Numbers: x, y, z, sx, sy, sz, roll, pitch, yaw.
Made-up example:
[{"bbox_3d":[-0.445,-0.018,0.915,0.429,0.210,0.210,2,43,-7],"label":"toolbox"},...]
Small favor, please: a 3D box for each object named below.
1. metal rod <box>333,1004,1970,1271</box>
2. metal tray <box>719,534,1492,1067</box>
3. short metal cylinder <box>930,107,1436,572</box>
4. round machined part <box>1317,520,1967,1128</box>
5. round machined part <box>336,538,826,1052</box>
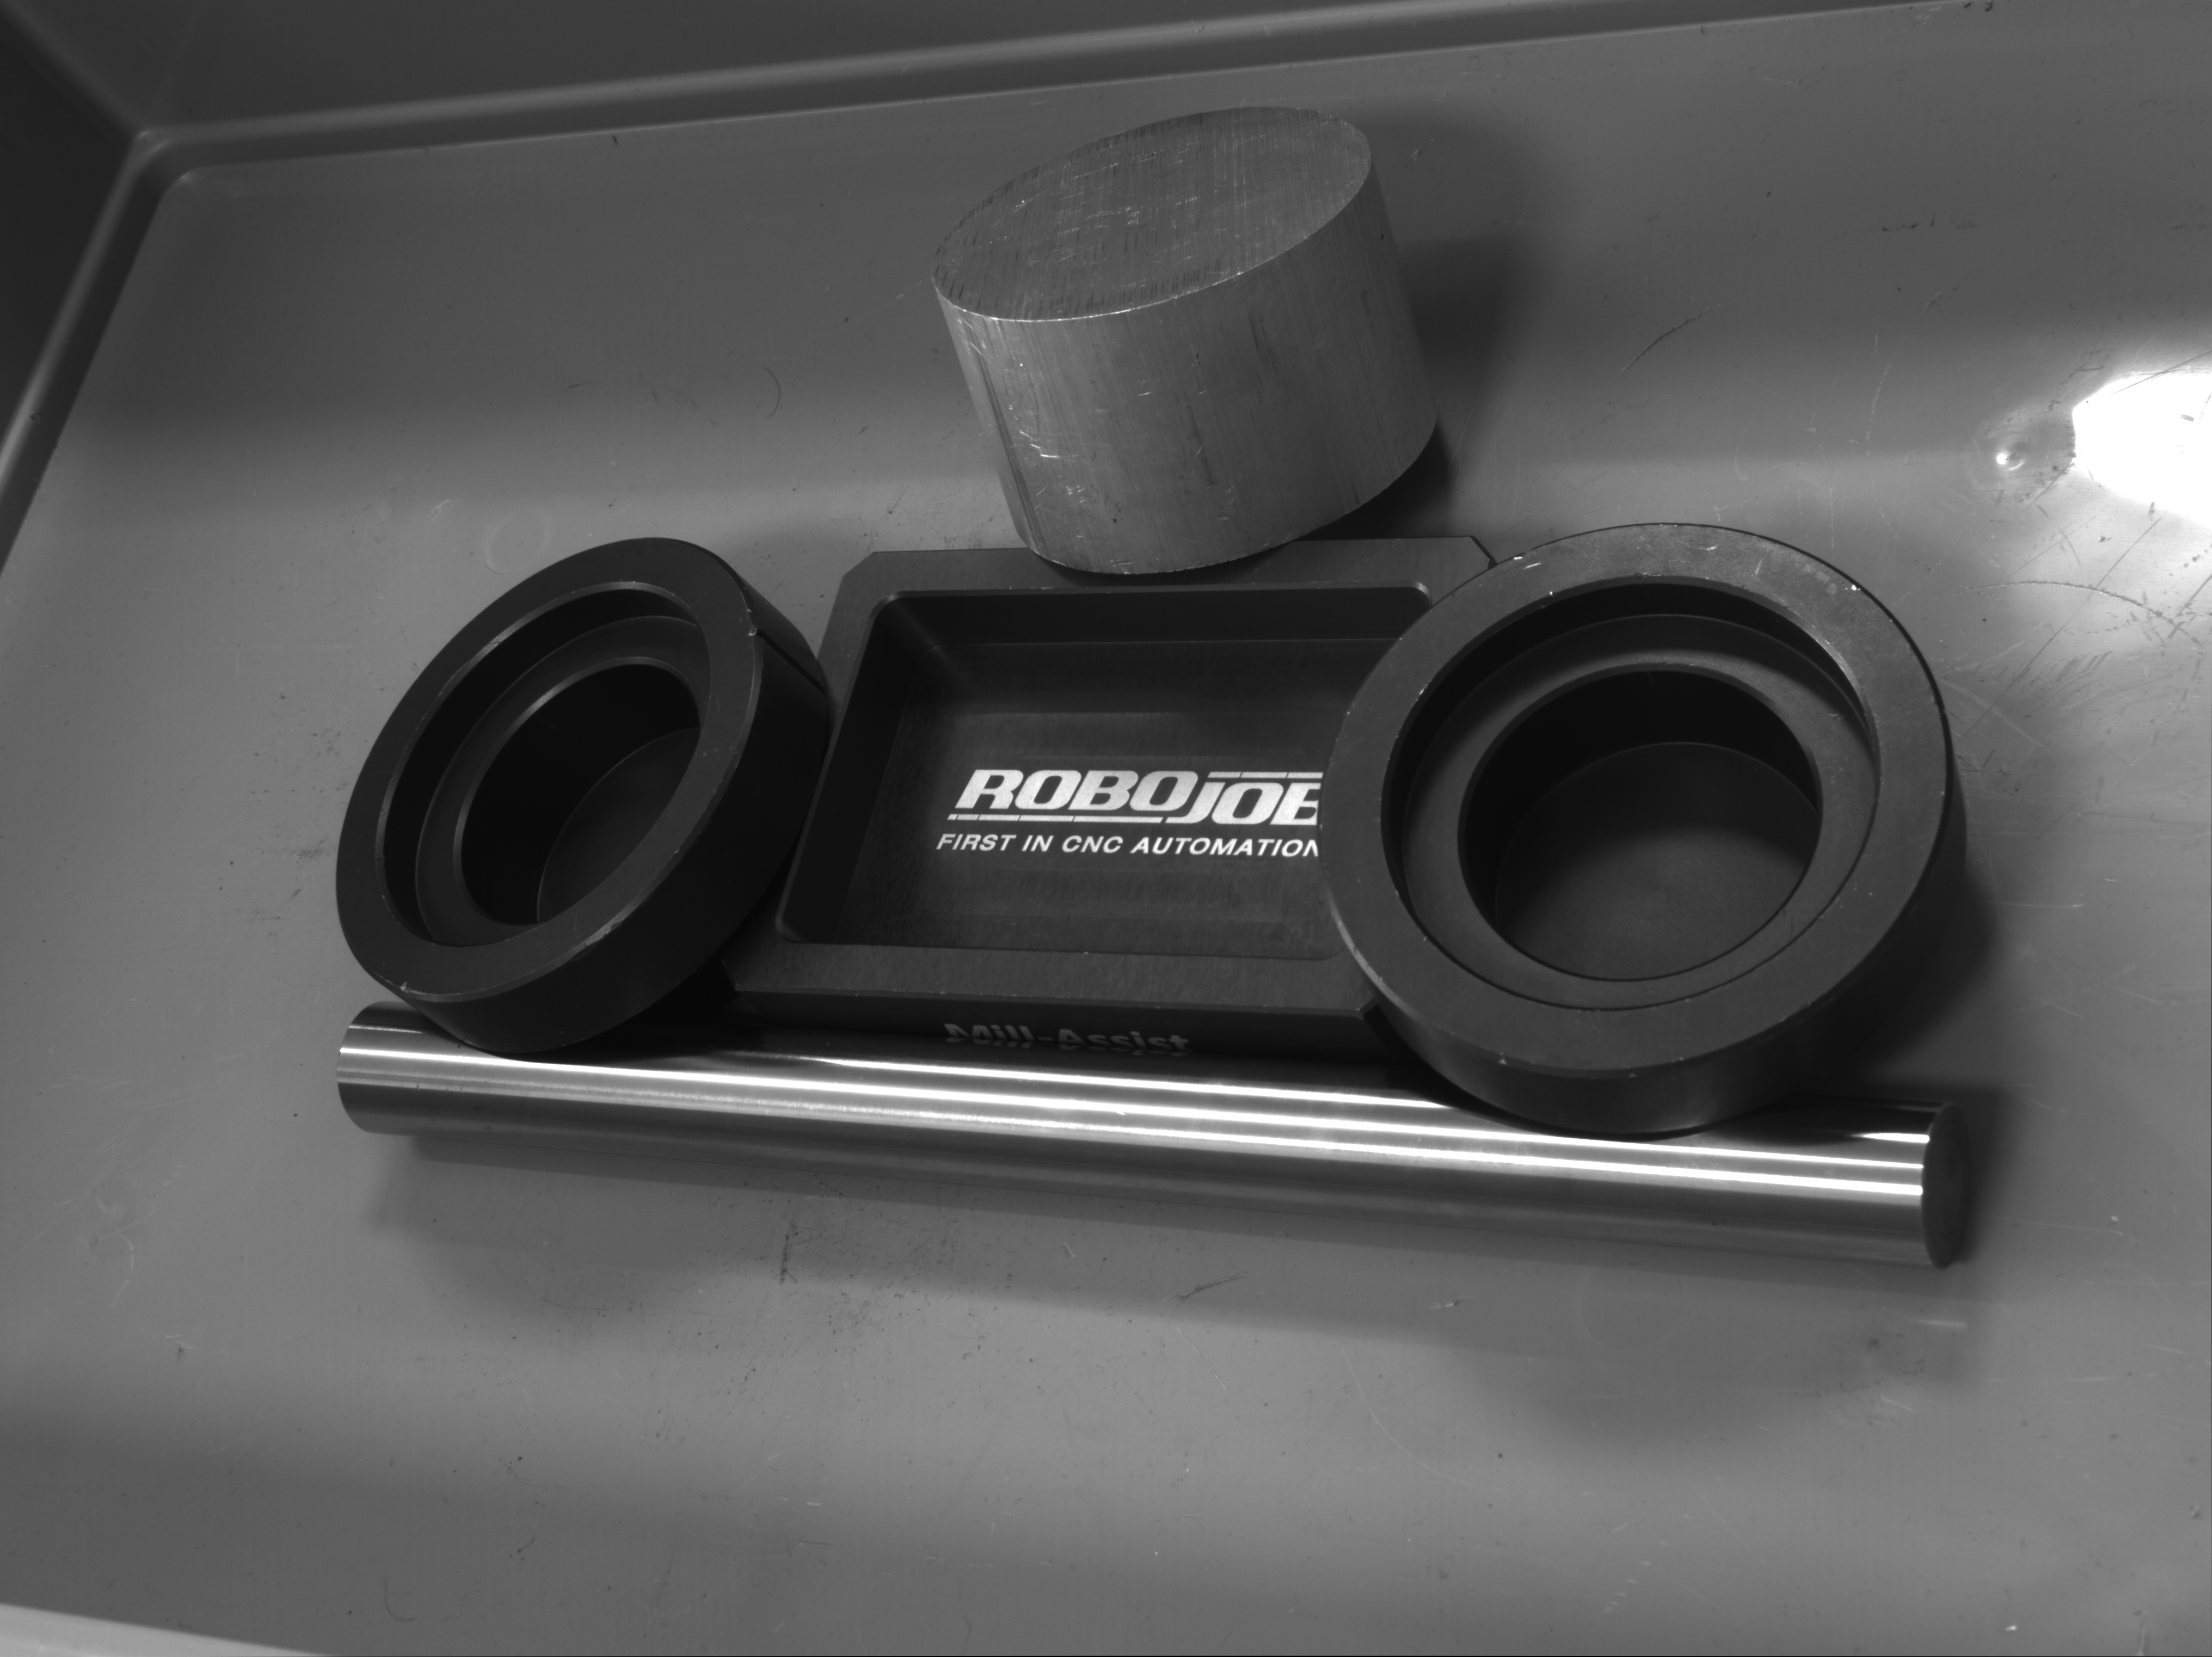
[{"bbox_3d":[-0.006,0.049,0.617,0.299,0.025,0.025,2,62,29],"label":"metal rod"},{"bbox_3d":[0.004,-0.004,0.640,0.130,0.030,0.090,1,63,28],"label":"metal tray"},{"bbox_3d":[0.014,-0.088,0.655,0.080,0.050,0.080,-14,31,8],"label":"short metal cylinder"},{"bbox_3d":[0.086,0.003,0.578,0.098,0.042,0.098,-9,57,15],"label":"round machined part"},{"bbox_3d":[-0.091,-0.002,0.677,0.098,0.042,0.098,-21,48,25],"label":"round machined part"}]
